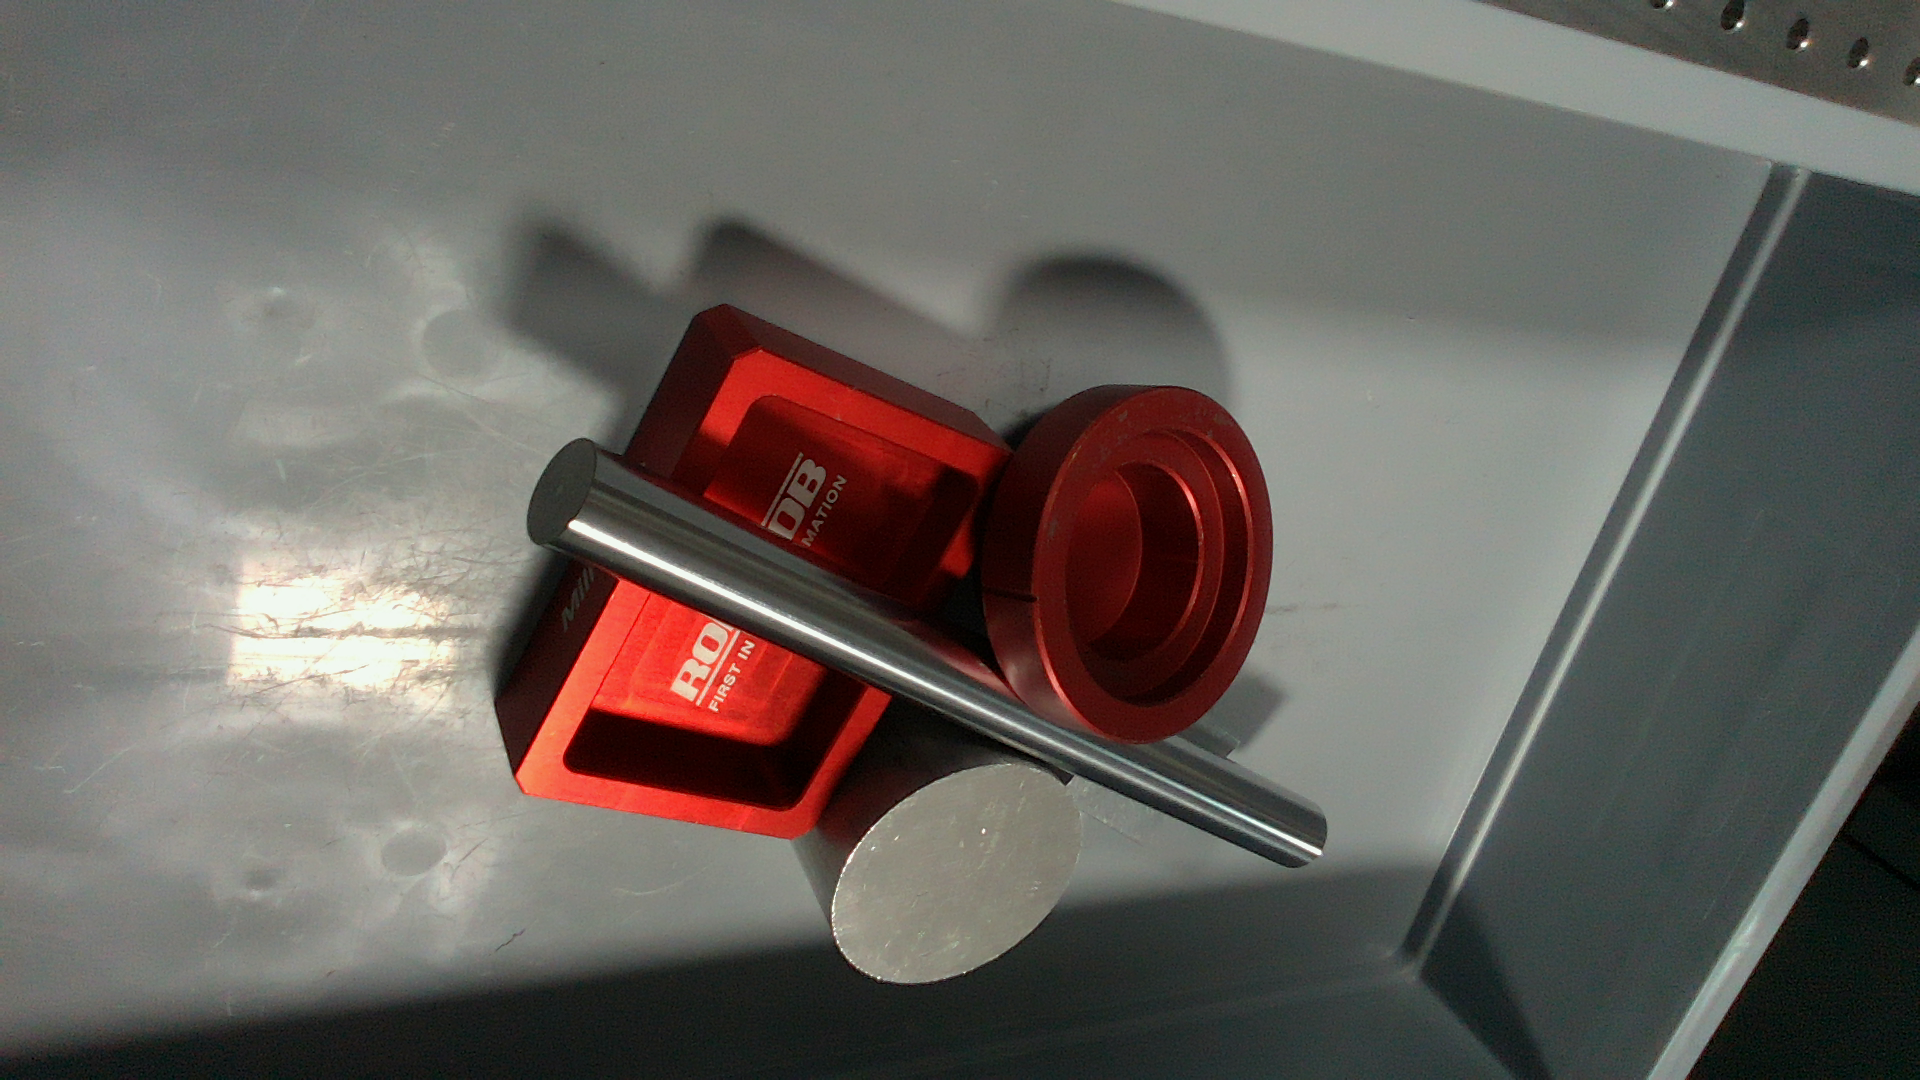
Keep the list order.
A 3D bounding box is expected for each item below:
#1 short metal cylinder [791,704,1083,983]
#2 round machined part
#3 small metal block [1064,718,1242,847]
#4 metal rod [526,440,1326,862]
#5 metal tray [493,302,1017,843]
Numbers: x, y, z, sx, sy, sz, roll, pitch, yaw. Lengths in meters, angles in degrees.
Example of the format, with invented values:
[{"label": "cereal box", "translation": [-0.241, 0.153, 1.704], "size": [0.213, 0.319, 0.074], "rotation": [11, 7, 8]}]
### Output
[{"label": "short metal cylinder", "translation": [-0.010, 0.086, 0.418], "size": [0.080, 0.050, 0.080], "rotation": [-14, 124, -21]}, {"label": "round machined part", "translation": [0.042, 0.006, 0.387], "size": [0.098, 0.042, 0.098], "rotation": [-7, 101, -40]}, {"label": "small metal block", "translation": [0.058, 0.069, 0.461], "size": [0.050, 0.025, 0.050], "rotation": [-49, 129, 6]}, {"label": "metal rod", "translation": [0.017, 0.046, 0.387], "size": [0.301, 0.025, 0.025], "rotation": [29, 103, -40]}, {"label": "metal tray", "translation": [-0.053, 0.014, 0.363], "size": [0.090, 0.030, 0.130], "rotation": [20, 108, -36]}]
